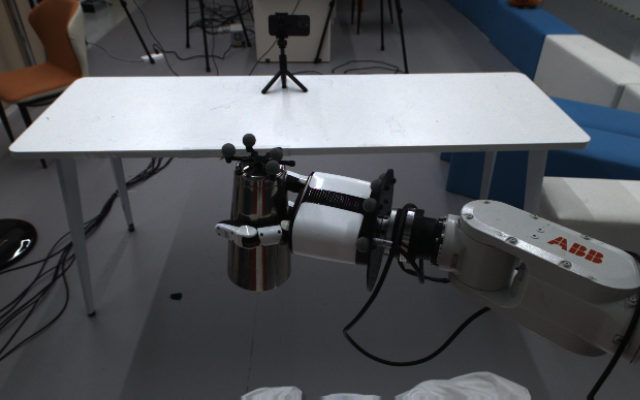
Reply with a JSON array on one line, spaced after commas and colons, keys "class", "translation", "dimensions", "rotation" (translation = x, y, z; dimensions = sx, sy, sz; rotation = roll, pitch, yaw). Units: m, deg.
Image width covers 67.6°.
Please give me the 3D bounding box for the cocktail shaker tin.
[{"class": "cocktail shaker tin", "translation": [-0.081, 0.029, 0.657], "dimensions": [0.093, 0.170, 0.093], "rotation": [3, 32, -2]}]
